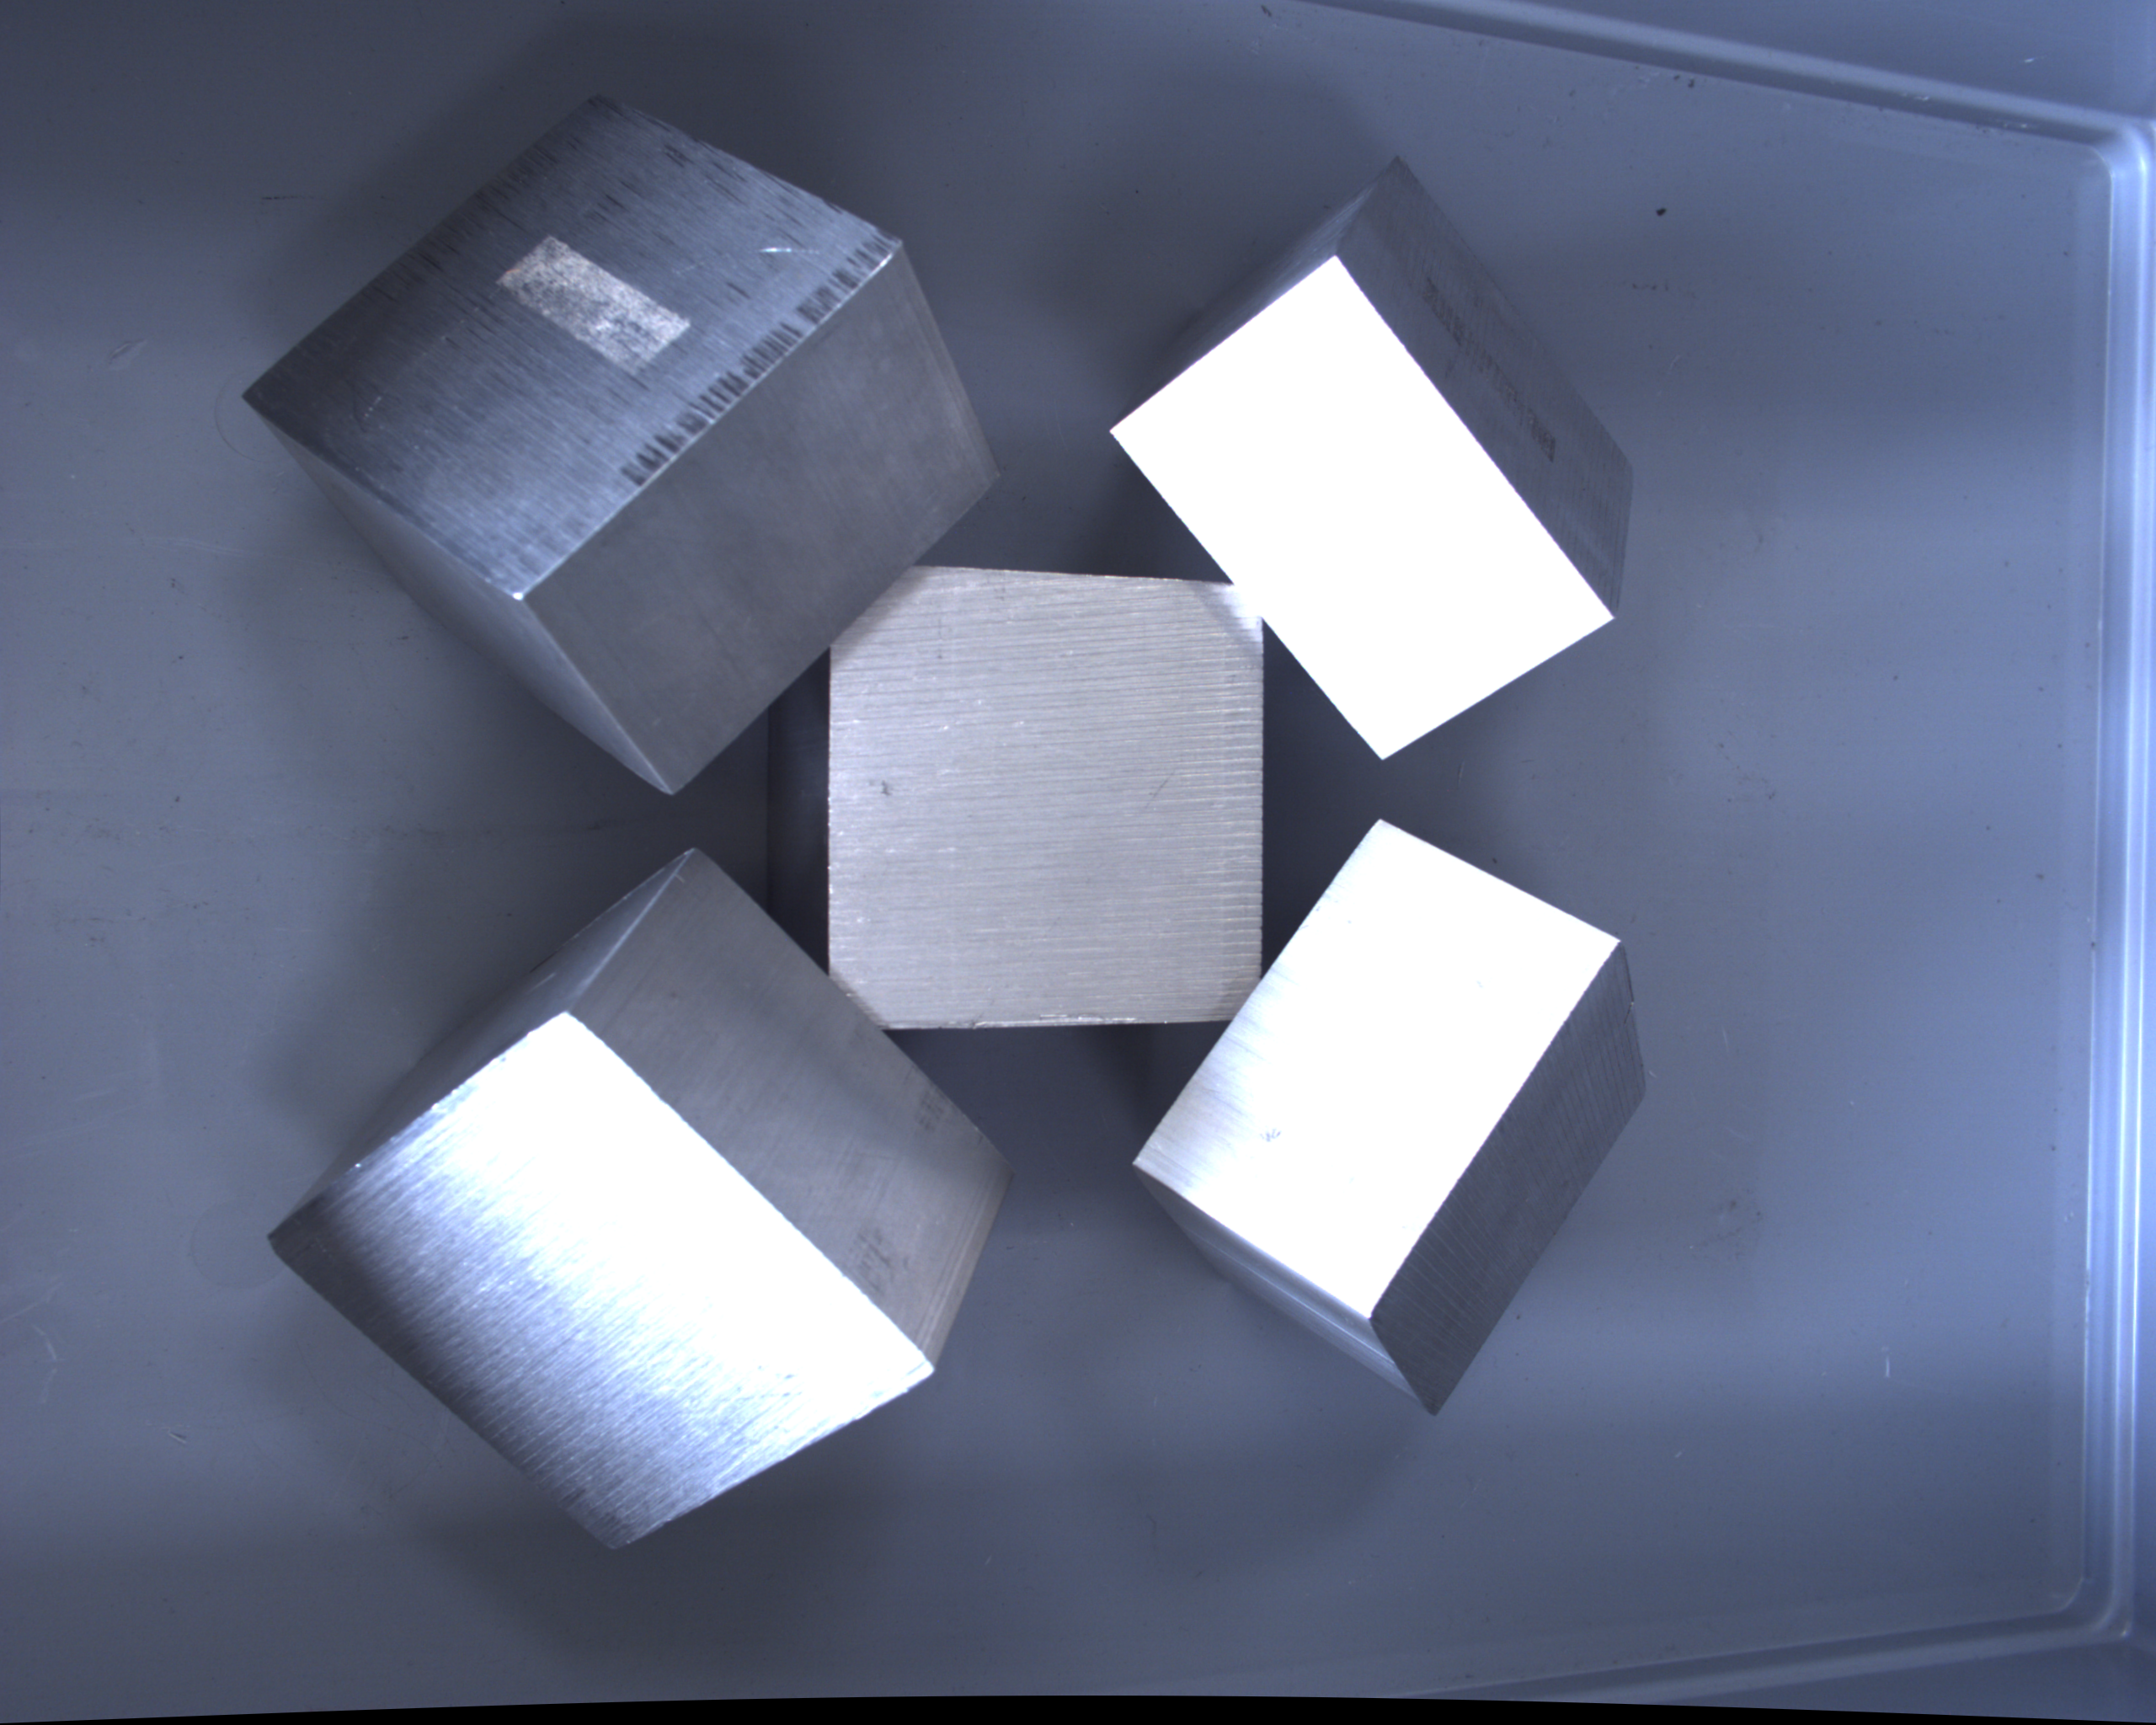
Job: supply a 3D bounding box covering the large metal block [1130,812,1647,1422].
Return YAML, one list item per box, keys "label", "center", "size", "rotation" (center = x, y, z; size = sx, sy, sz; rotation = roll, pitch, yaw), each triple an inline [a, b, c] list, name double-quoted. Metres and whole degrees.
- label: "large metal block"
  center: [0.063, 0.050, 0.395]
  size: [0.080, 0.050, 0.080]
  rotation: [-54, 151, -13]

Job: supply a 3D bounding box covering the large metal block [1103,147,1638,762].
- label: "large metal block"
  center: [0.059, -0.079, 0.395]
  size: [0.080, 0.050, 0.080]
  rotation: [48, 32, -13]

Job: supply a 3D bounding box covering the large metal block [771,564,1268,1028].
- label: "large metal block"
  center: [-0.012, -0.011, 0.390]
  size: [0.081, 0.050, 0.080]
  rotation: [1, 90, -20]

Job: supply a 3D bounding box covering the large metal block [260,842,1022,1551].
- label: "large metal block"
  center: [-0.071, 0.057, 0.348]
  size: [0.080, 0.050, 0.080]
  rotation: [-34, 106, 29]

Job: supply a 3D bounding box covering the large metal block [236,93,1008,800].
- label: "large metal block"
  center: [-0.073, -0.070, 0.344]
  size: [0.080, 0.080, 0.050]
  rotation: [-48, 148, -14]
